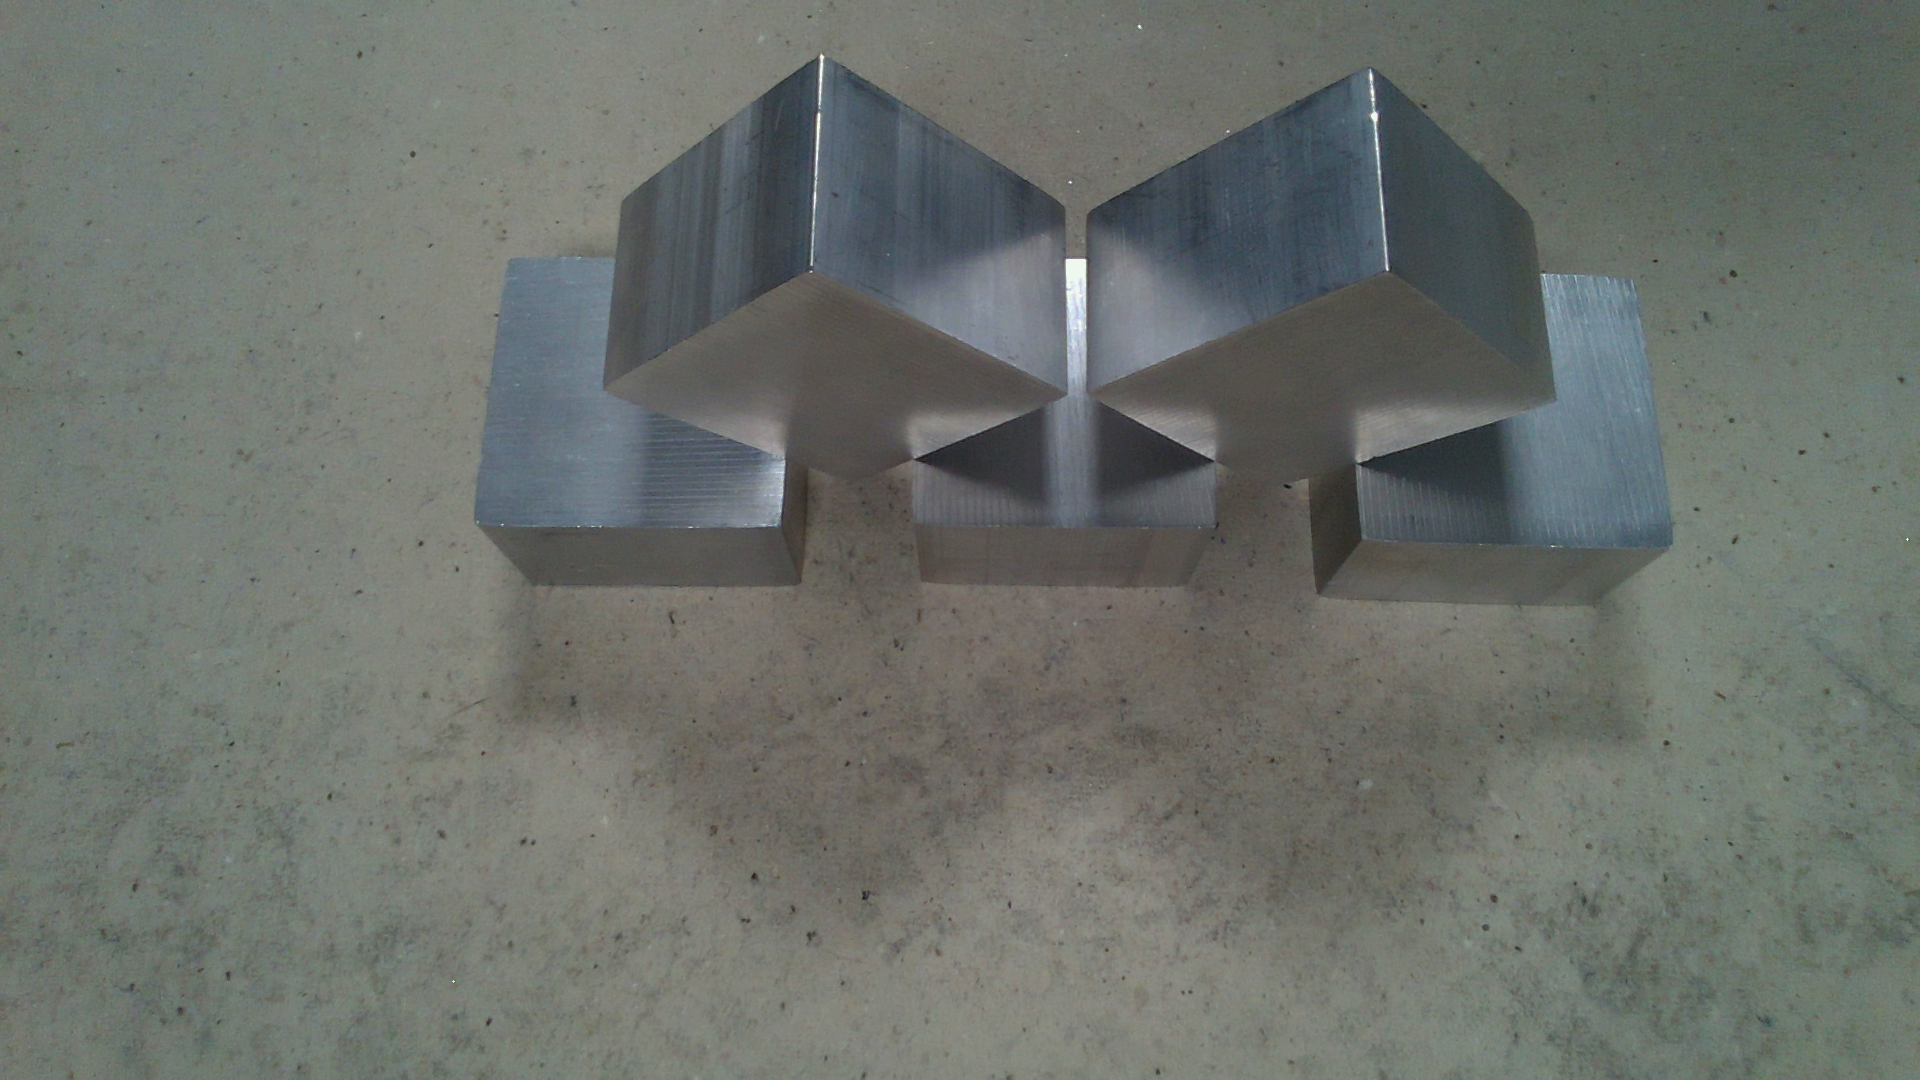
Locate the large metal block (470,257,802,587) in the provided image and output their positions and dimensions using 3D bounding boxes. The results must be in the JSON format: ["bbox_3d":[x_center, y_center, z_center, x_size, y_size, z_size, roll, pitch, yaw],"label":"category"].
[{"bbox_3d":[-0.086,-0.033,0.393,0.080,0.050,0.080,0,70,0],"label":"large metal block"}]

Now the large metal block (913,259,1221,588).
[{"bbox_3d":[0.028,-0.032,0.394,0.080,0.050,0.080,1,70,0],"label":"large metal block"}]

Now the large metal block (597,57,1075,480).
[{"bbox_3d":[-0.030,-0.059,0.334,0.080,0.080,0.050,18,63,-42],"label":"large metal block"}]

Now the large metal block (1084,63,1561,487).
[{"bbox_3d":[0.087,-0.058,0.336,0.080,0.080,0.050,-18,62,42],"label":"large metal block"}]

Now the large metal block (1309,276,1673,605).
[{"bbox_3d":[0.145,-0.028,0.392,0.080,0.050,0.080,1,70,0],"label":"large metal block"}]
